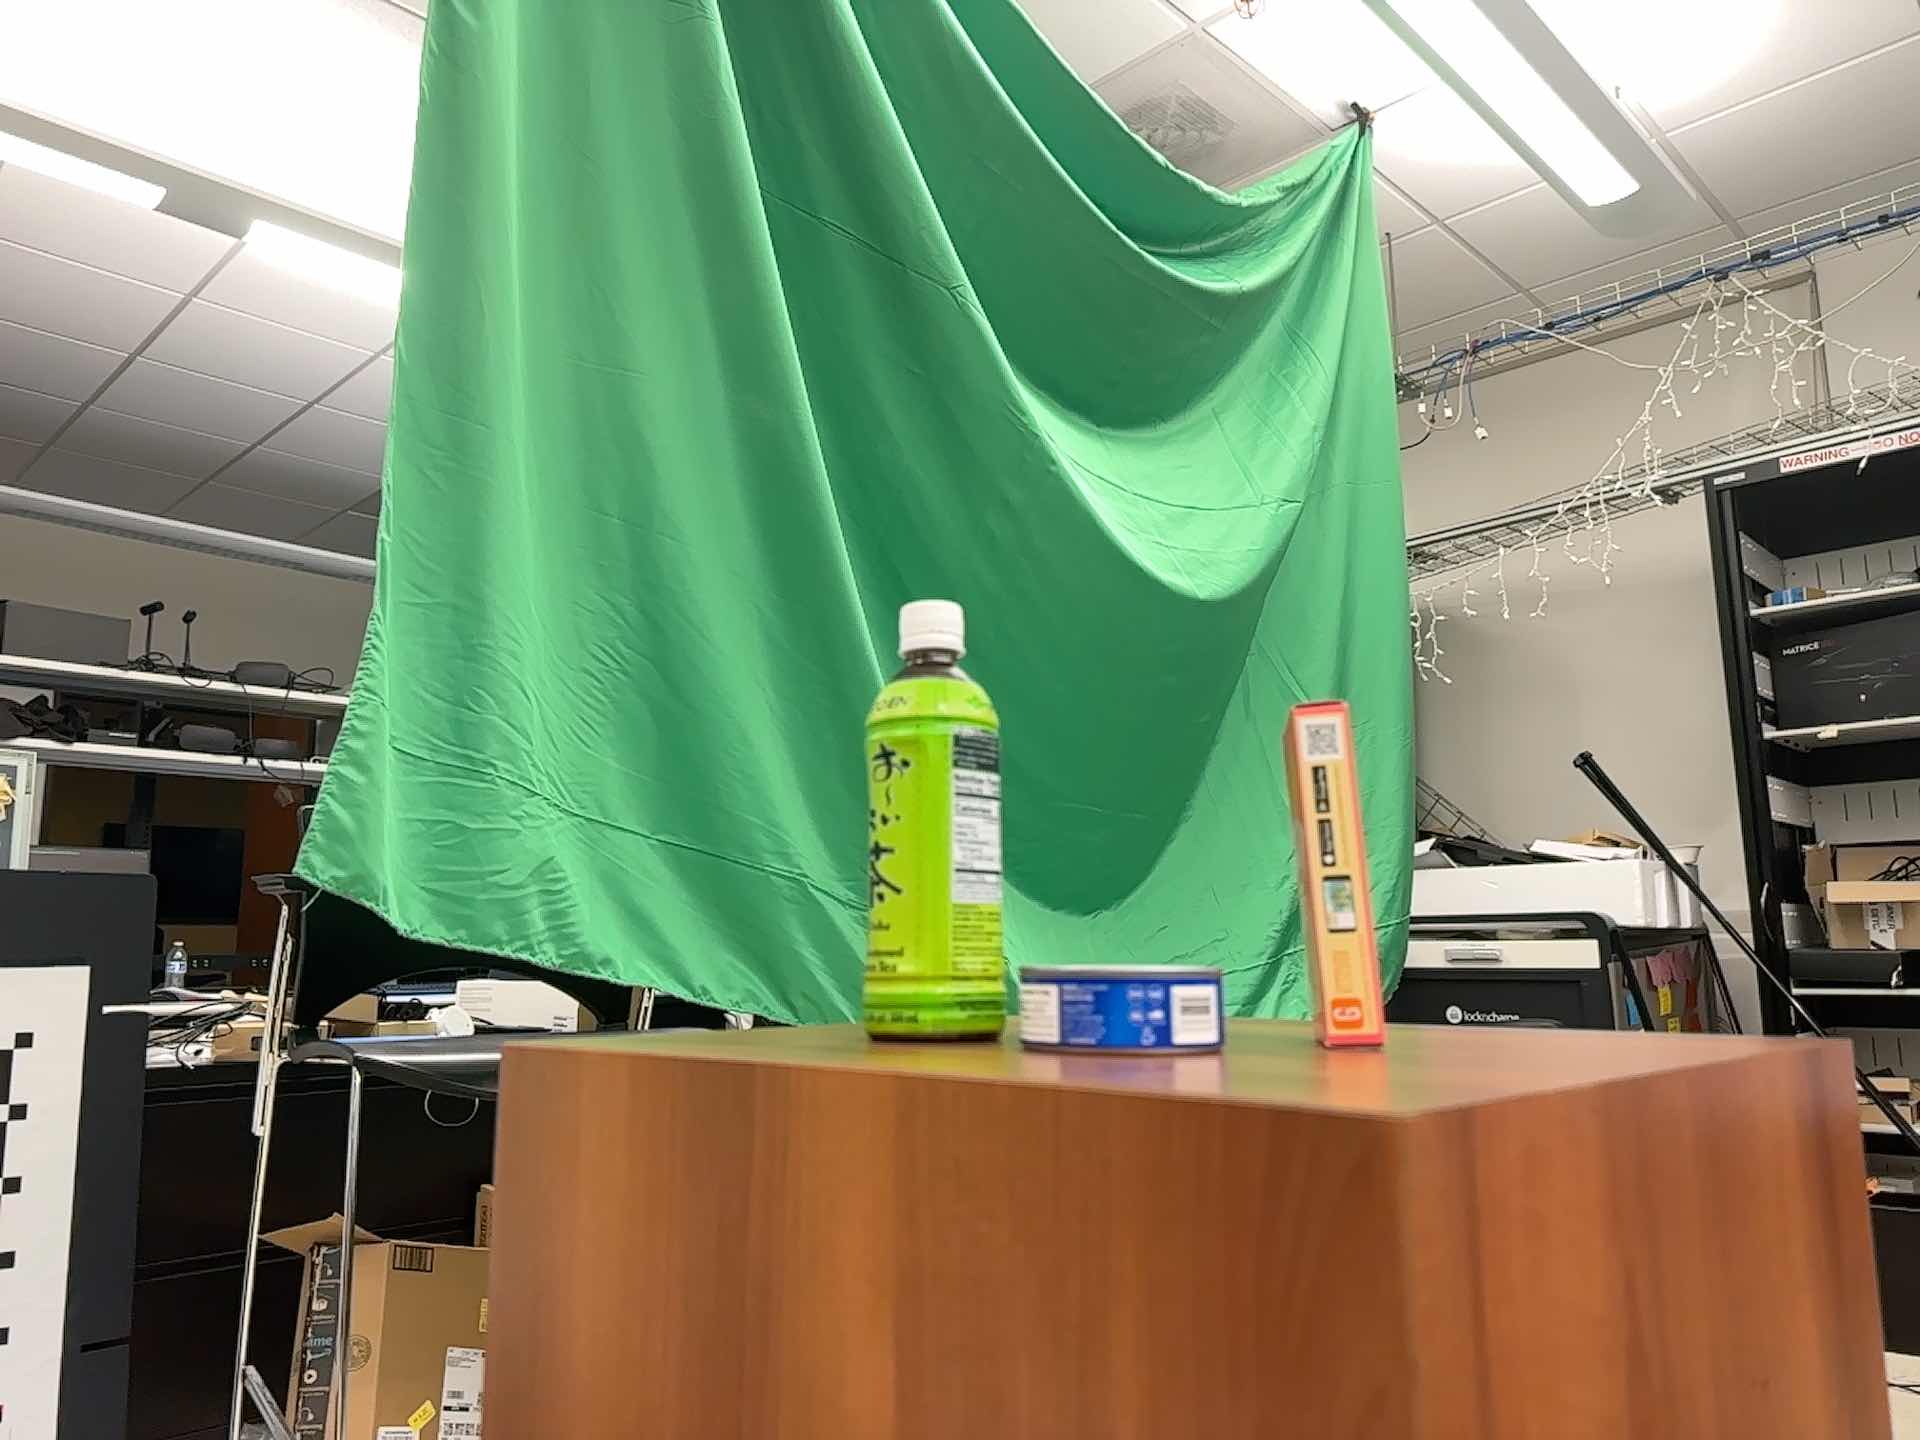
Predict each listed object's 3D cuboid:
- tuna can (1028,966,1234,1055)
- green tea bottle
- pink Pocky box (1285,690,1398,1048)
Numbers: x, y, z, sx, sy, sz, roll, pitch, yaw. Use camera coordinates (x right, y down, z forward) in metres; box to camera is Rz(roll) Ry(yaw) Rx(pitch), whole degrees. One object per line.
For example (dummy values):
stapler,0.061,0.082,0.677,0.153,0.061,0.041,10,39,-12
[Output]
tuna can,0.070,0.118,0.556,0.083,0.034,0.083,0,-10,0
green tea bottle,-0.012,0.047,0.637,0.073,0.212,0.073,-1,-11,0
pink Pocky box,0.174,0.069,0.621,0.029,0.155,0.084,-5,-9,9
